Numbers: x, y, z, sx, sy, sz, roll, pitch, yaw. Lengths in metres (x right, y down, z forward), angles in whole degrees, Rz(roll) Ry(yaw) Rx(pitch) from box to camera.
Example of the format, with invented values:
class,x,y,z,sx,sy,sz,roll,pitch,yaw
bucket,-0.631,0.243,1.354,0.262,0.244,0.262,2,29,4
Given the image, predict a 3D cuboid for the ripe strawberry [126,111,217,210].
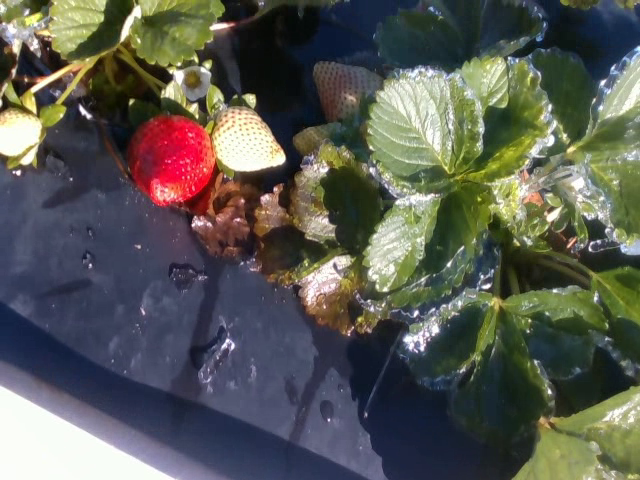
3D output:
class,x,y,z,sx,sy,sz,roll,pitch,yaw
ripe strawberry,-0.063,-0.029,0.247,0.040,0.042,0.053,-11,32,4
